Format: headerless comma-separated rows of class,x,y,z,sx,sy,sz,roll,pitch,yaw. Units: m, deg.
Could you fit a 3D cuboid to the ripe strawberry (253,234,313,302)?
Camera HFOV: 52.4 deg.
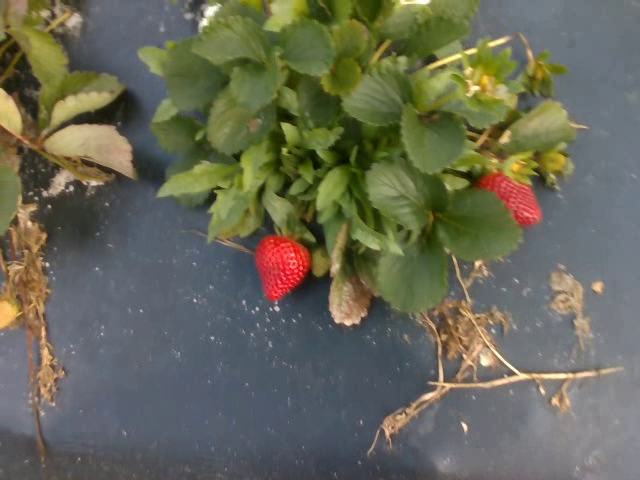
ripe strawberry,-0.029,0.020,0.442,0.043,0.051,0.043,12,-10,6

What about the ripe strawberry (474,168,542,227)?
ripe strawberry,0.127,-0.024,0.423,0.046,0.043,0.046,35,19,31
